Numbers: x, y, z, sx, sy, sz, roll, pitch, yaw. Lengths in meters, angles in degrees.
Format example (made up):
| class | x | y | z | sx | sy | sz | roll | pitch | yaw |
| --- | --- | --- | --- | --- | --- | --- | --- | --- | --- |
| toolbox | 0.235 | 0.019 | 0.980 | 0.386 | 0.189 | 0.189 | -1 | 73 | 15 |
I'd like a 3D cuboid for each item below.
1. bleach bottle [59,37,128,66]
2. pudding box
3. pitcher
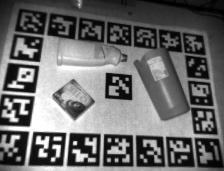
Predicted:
| class | x | y | z | sx | sy | sz | roll | pitch | yaw |
| --- | --- | --- | --- | --- | --- | --- | --- | --- | --- |
| bleach bottle | -0.064 | -0.117 | 0.791 | 0.252 | 0.067 | 0.102 | 2 | 76 | -14 |
| pudding box | -0.127 | 0.046 | 0.731 | 0.090 | 0.038 | 0.113 | -40 | 86 | -27 |
| pitcher | 0.193 | -0.002 | 0.794 | 0.191 | 0.132 | 0.242 | -12 | 78 | -51 |
